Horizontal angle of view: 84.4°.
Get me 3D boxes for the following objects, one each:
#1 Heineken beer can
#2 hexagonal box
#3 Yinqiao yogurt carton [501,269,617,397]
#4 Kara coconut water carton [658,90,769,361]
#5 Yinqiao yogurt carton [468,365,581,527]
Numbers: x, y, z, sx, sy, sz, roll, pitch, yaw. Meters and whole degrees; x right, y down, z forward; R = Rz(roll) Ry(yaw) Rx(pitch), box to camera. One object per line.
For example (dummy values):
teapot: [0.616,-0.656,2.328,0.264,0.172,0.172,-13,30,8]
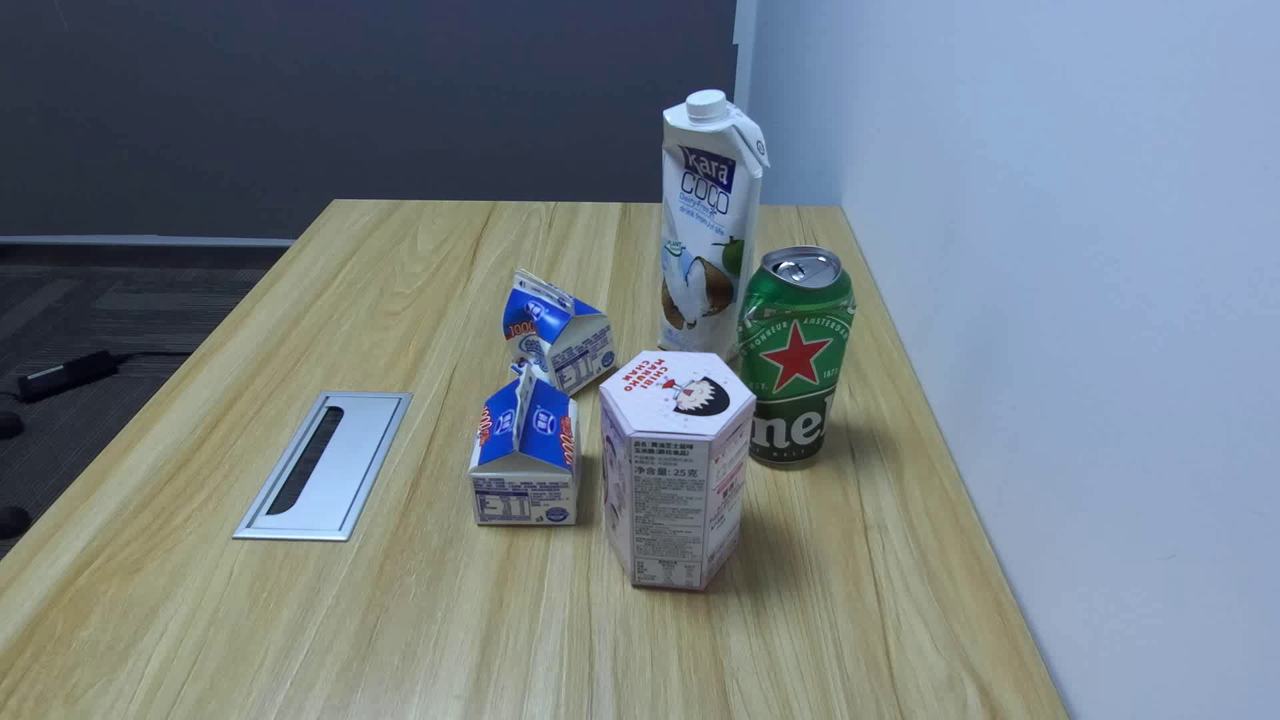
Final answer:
Heineken beer can: [0.113,0.001,0.517,0.077,0.164,0.066,6,36,12]
hexagonal box: [0.021,0.070,0.445,0.083,0.136,0.091,23,43,28]
Yinqiao yogurt carton: [-0.073,-0.029,0.612,0.071,0.094,0.077,-34,48,-30]
Kara coconut water carton: [0.058,-0.105,0.596,0.069,0.239,0.114,-32,46,-34]
Yinqiao yogurt carton: [-0.081,0.059,0.499,0.074,0.092,0.075,0,38,0]
